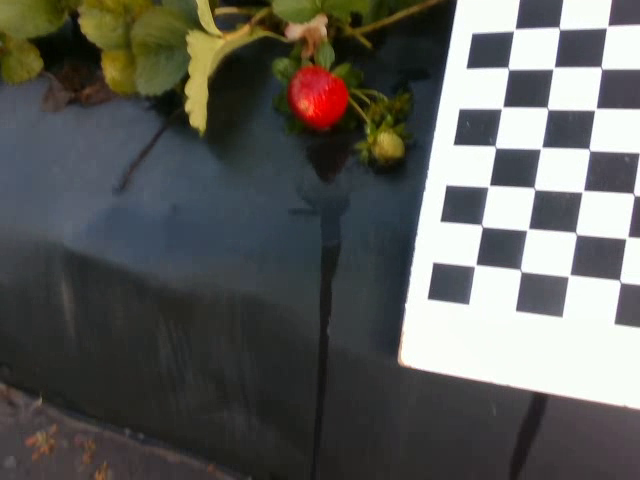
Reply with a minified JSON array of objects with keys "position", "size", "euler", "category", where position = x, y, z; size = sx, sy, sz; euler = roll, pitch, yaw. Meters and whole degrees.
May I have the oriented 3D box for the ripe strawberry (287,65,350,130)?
[{"position":[-0.004,-0.094,0.455],"size":[0.043,0.052,0.057],"euler":[-24,10,23],"category":"ripe strawberry"}]
